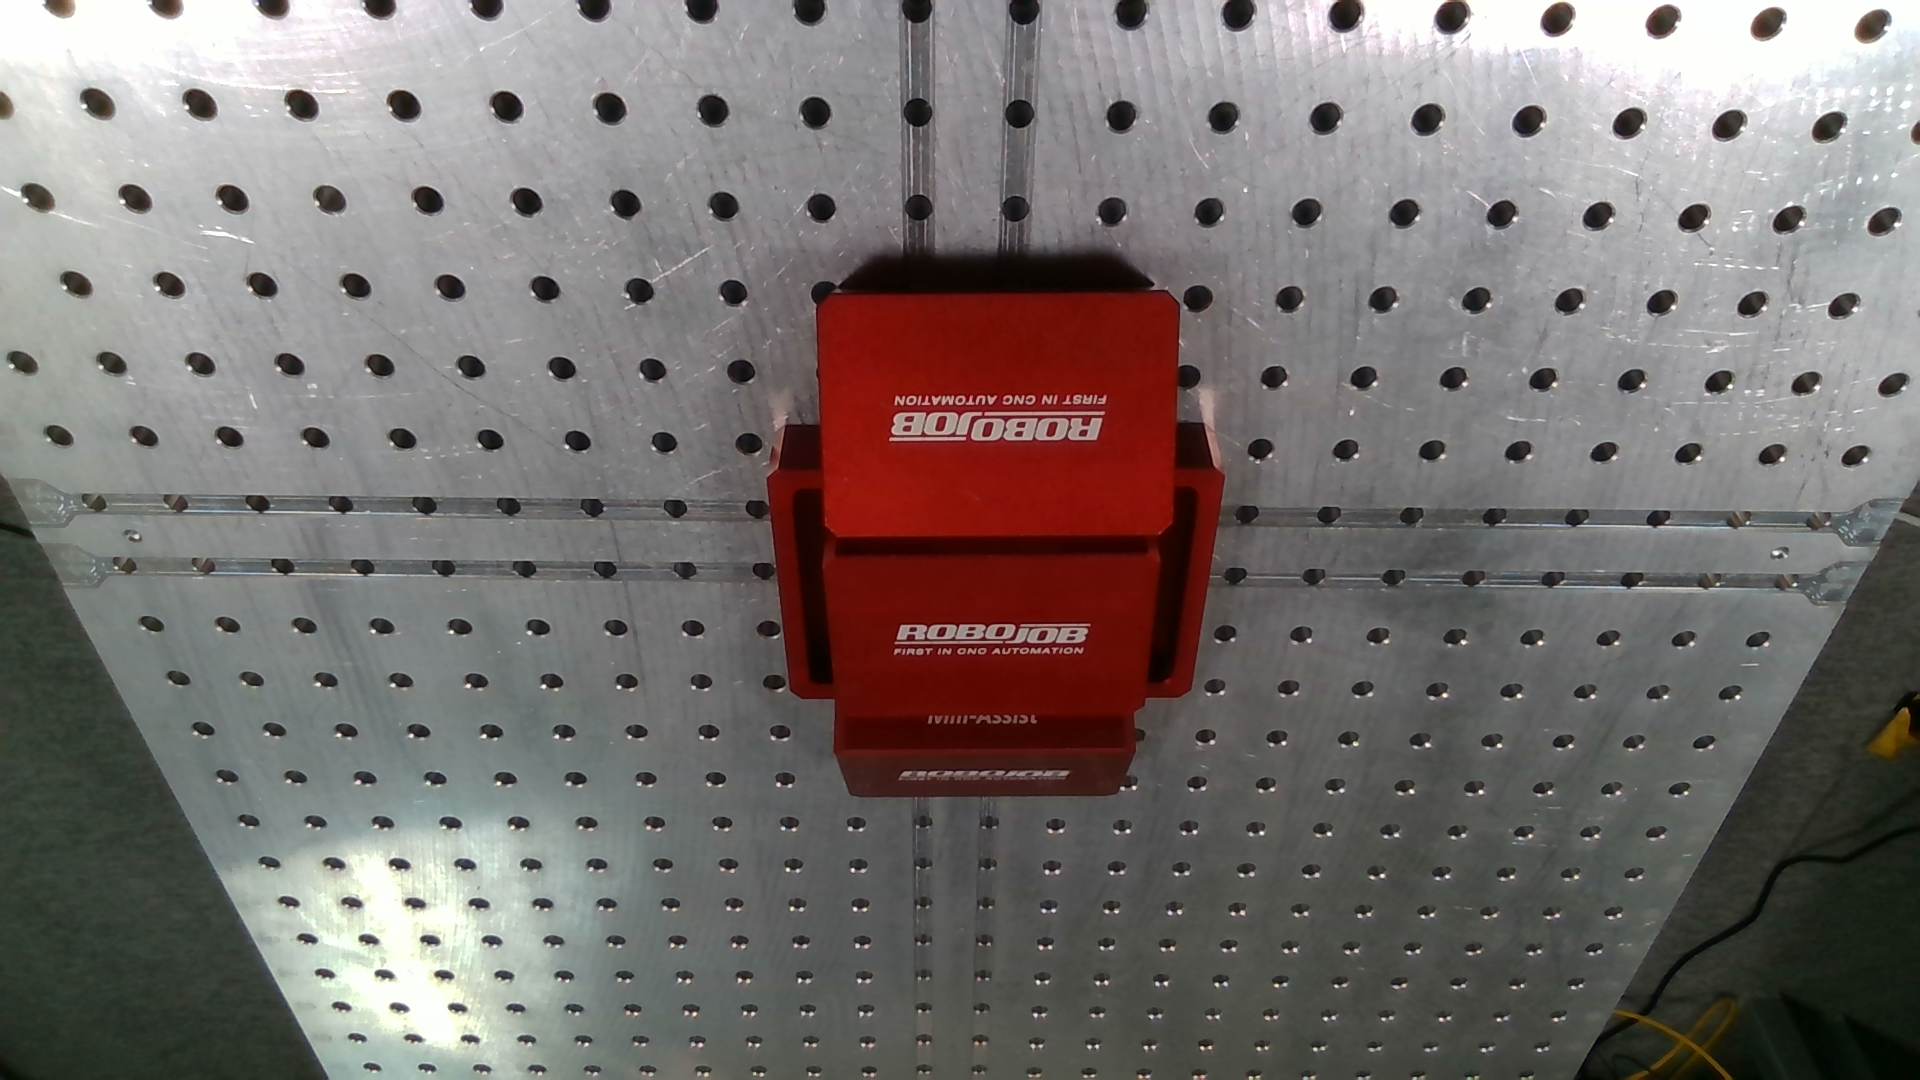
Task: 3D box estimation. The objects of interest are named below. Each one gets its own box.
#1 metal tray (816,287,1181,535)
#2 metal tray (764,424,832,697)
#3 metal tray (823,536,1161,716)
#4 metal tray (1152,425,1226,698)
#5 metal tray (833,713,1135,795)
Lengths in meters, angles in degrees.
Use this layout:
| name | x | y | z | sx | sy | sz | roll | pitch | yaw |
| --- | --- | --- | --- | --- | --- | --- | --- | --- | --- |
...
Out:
| name | x | y | z | sx | sy | sz | roll | pitch | yaw |
| --- | --- | --- | --- | --- | --- | --- | --- | --- | --- |
| metal tray | 0.014 | -0.049 | 0.514 | 0.130 | 0.030 | 0.090 | 0 | 104 | 0 |
| metal tray | -0.032 | 0.012 | 0.589 | 0.090 | 0.030 | 0.130 | 0 | 130 | 0 |
| metal tray | 0.013 | 0.031 | 0.565 | 0.130 | 0.030 | 0.090 | 0 | 130 | 0 |
| metal tray | 0.059 | 0.012 | 0.588 | 0.090 | 0.030 | 0.130 | 0 | 130 | 0 |
| metal tray | 0.011 | 0.094 | 0.633 | 0.130 | 0.030 | 0.090 | 0 | 157 | 0 |
